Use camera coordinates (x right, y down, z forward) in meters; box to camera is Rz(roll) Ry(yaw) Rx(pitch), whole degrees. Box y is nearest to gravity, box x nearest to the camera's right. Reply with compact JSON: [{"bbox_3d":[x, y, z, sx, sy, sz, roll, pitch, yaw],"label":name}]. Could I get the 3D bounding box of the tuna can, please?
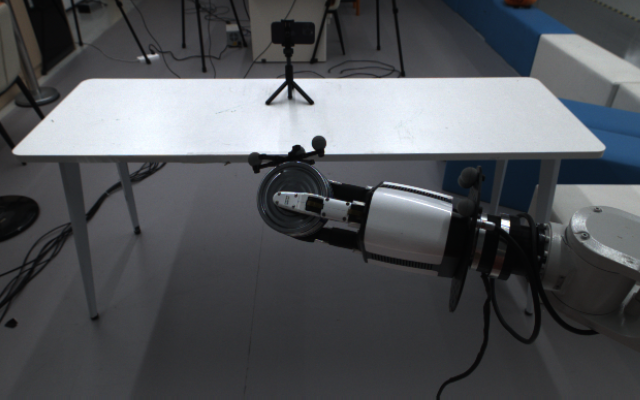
[{"bbox_3d":[-0.024,0.004,0.556,0.085,0.085,0.034,12,-6,14],"label":"tuna can"}]
